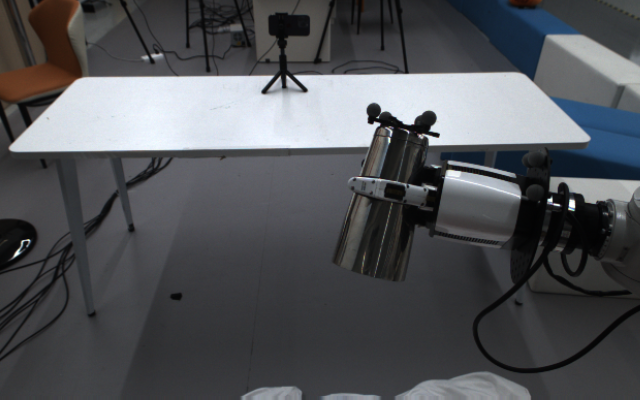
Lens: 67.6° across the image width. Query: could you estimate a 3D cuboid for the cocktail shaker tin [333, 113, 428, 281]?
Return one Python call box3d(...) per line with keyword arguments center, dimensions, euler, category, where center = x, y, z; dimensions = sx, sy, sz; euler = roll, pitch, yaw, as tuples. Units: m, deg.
box3d(center=(0.079, 0.002, 0.585), dimensions=(0.093, 0.170, 0.093), euler=(14, 2, 0), category="cocktail shaker tin")
